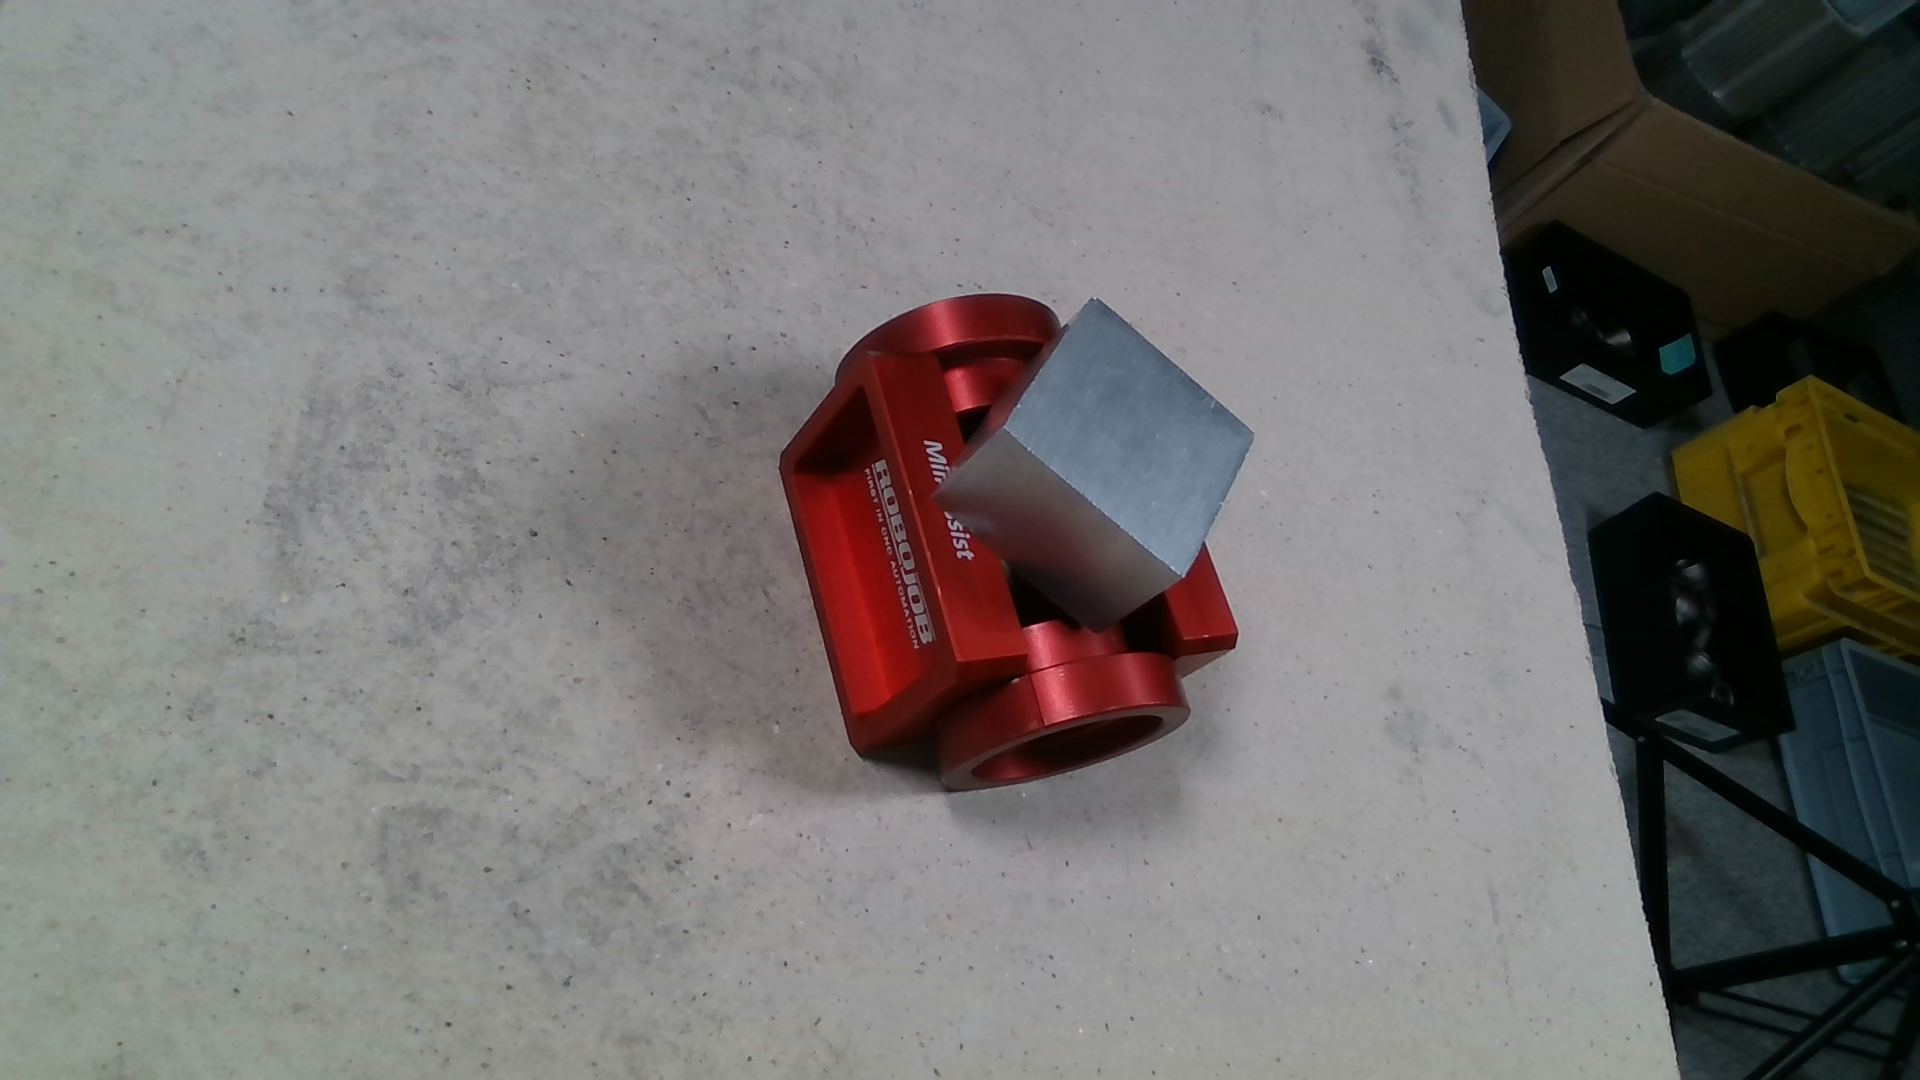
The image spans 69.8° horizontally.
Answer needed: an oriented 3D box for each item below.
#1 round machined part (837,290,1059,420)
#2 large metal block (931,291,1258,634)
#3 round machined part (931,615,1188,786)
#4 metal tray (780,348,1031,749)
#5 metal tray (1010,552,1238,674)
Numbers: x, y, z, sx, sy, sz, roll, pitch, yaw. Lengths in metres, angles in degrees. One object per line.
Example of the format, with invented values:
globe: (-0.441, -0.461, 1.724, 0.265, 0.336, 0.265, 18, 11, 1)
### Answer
round machined part: (0.000, -0.059, 0.570, 0.098, 0.098, 0.042, -1, 66, -32)
large metal block: (0.050, -0.028, 0.496, 0.080, 0.050, 0.080, 39, 51, -8)
round machined part: (0.035, 0.060, 0.528, 0.098, 0.098, 0.042, -1, 66, -32)
metal tray: (-0.025, 0.004, 0.525, 0.030, 0.090, 0.130, -4, 67, -33)
metal tray: (0.058, 0.001, 0.580, 0.030, 0.090, 0.130, -5, 68, -33)
